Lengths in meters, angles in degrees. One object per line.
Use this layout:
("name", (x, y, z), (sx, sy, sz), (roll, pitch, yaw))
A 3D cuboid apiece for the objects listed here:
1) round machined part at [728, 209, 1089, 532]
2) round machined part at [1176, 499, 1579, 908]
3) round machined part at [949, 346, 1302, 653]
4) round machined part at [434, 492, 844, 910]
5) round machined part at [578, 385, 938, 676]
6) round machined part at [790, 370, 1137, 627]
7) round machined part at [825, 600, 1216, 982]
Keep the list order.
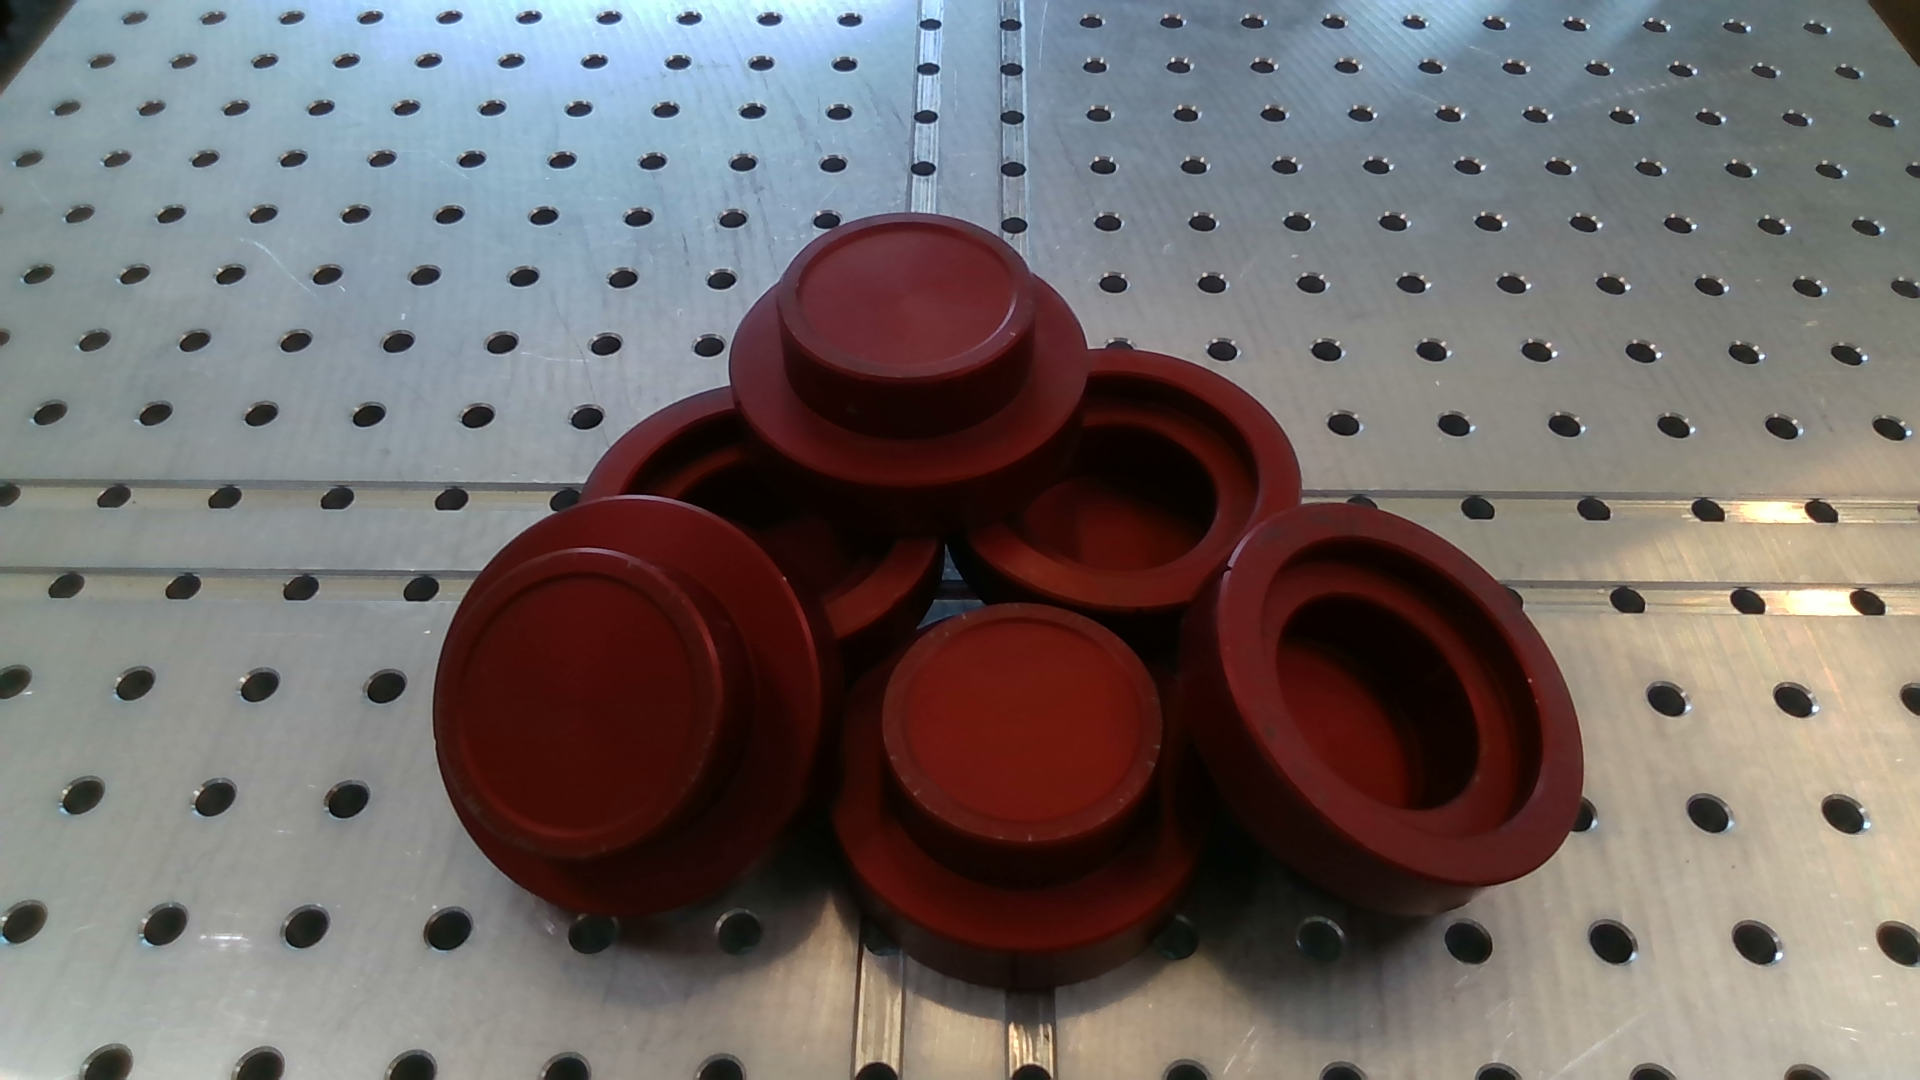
("round machined part", (-0.014, -0.052, 0.374), (0.098, 0.042, 0.098), (0, 50, 0))
("round machined part", (0.096, 0.042, 0.336), (0.098, 0.042, 0.098), (12, 55, -17))
("round machined part", (0.044, -0.007, 0.392), (0.098, 0.042, 0.098), (0, 50, 0))
("round machined part", (-0.080, 0.037, 0.323), (0.098, 0.042, 0.098), (-2, 83, 13))
("round machined part", (-0.054, 0.004, 0.383), (0.098, 0.042, 0.098), (0, 50, 0))
("round machined part", (0.000, -0.013, 0.396), (0.098, 0.042, 0.098), (0, 50, 0))
("round machined part", (0.014, 0.054, 0.340), (0.098, 0.042, 0.098), (0, 50, 0))
